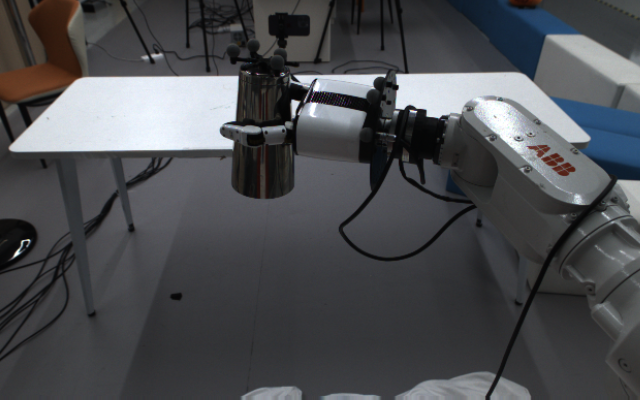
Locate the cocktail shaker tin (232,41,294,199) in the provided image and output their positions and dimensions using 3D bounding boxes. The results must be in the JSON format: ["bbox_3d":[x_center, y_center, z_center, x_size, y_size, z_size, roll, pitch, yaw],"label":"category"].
[{"bbox_3d":[-0.077,-0.098,0.665,0.093,0.170,0.093,3,32,-2],"label":"cocktail shaker tin"}]
